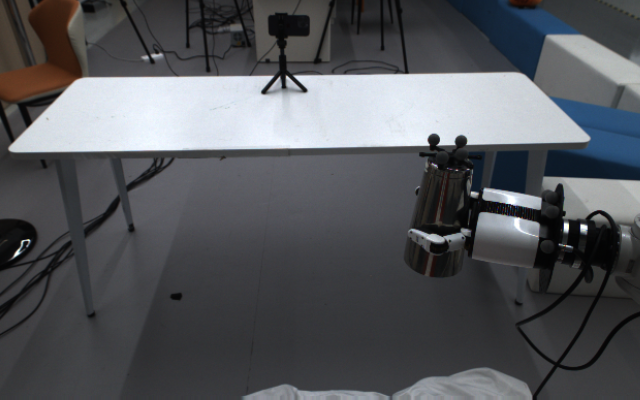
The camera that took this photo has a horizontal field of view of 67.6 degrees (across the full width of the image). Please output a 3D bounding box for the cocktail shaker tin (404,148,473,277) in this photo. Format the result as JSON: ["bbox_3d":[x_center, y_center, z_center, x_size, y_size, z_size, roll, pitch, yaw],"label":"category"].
[{"bbox_3d":[0.183,0.018,0.728,0.093,0.170,0.093,2,28,-1],"label":"cocktail shaker tin"}]
